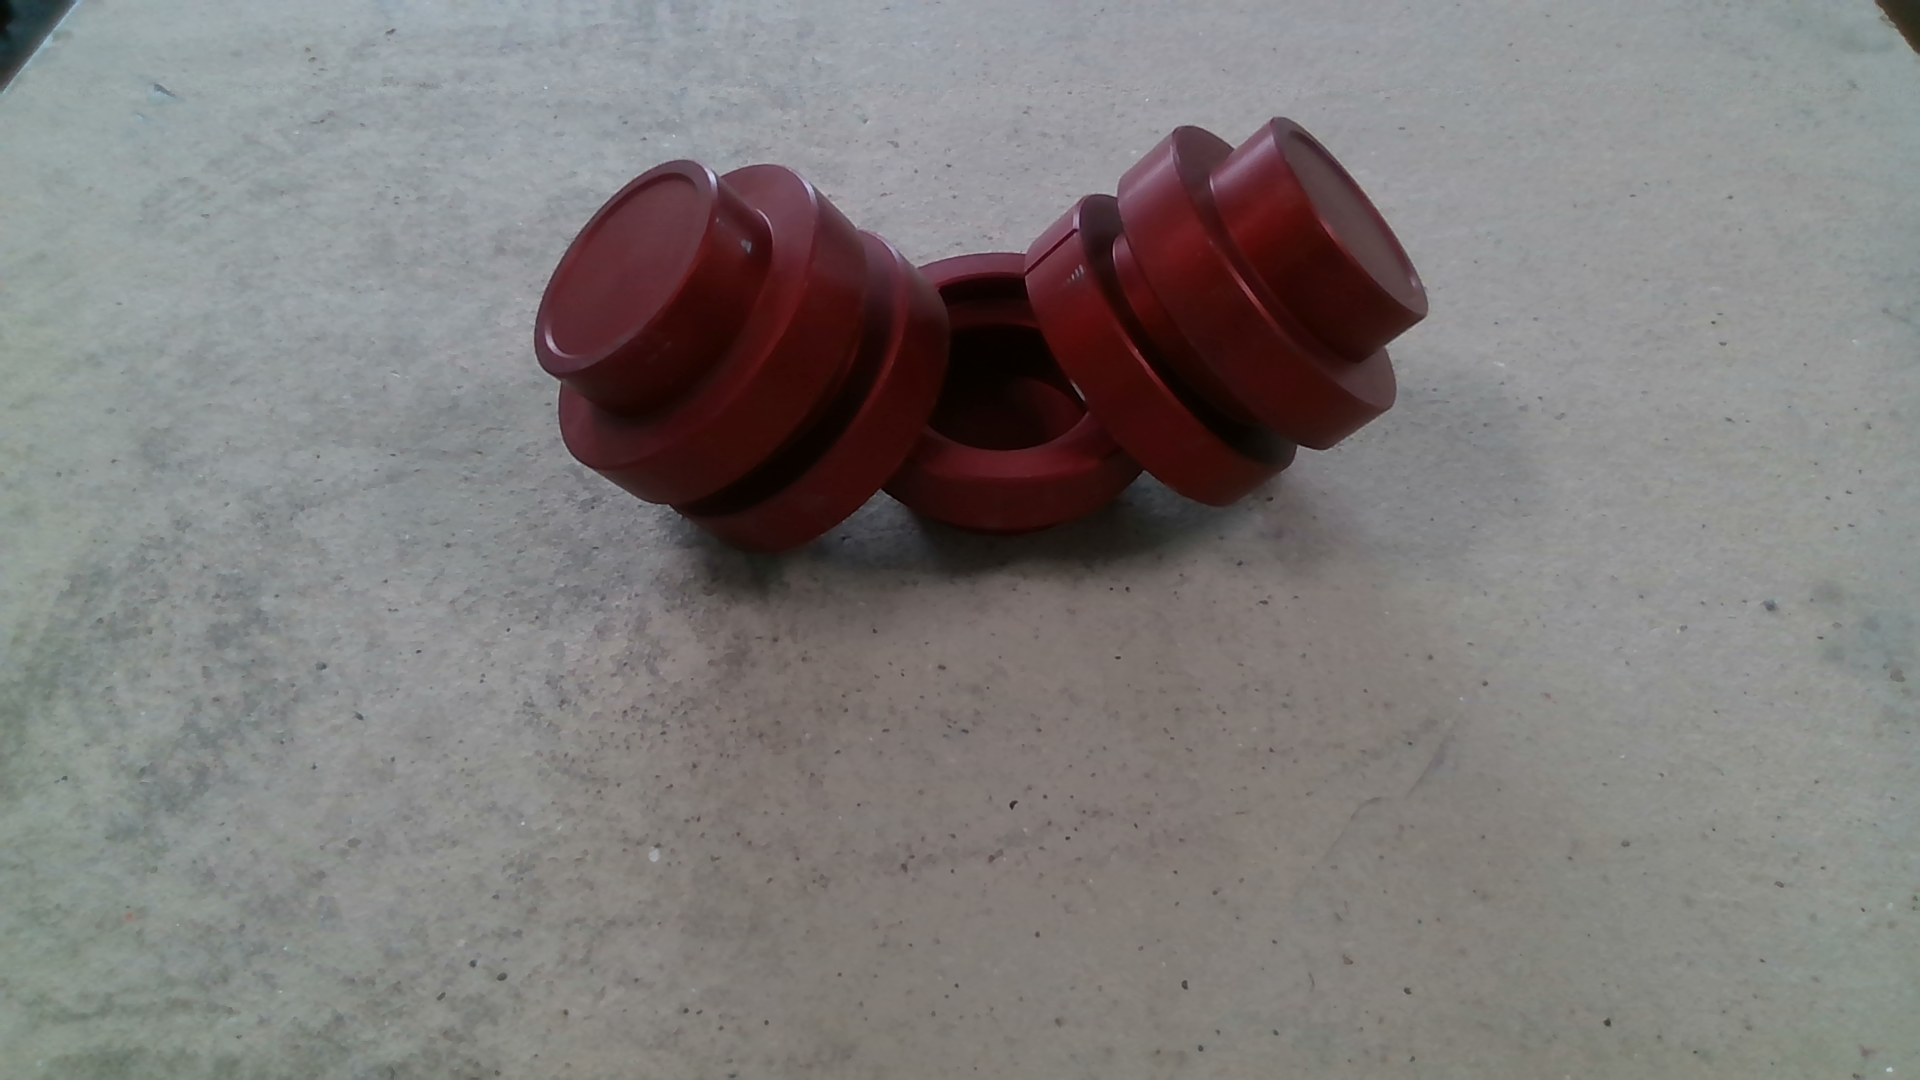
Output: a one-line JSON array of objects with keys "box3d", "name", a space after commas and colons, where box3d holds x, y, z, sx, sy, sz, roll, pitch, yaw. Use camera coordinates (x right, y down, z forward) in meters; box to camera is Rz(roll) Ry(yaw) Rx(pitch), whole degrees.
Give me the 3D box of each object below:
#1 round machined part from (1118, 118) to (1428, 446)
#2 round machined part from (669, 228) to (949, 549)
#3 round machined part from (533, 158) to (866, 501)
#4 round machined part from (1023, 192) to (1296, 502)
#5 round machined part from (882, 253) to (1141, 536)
[{"box3d": [0.092, -0.078, 0.385, 0.098, 0.042, 0.098, 33, 36, -28], "name": "round machined part"}, {"box3d": [-0.055, -0.050, 0.392, 0.098, 0.042, 0.098, -23, 49, 29], "name": "round machined part"}, {"box3d": [-0.076, -0.063, 0.373, 0.098, 0.042, 0.098, -22, 50, 29], "name": "round machined part"}, {"box3d": [0.067, -0.063, 0.399, 0.098, 0.042, 0.098, 33, 36, -29], "name": "round machined part"}, {"box3d": [0.013, -0.040, 0.418, 0.098, 0.042, 0.098, 0, 50, 0], "name": "round machined part"}]
